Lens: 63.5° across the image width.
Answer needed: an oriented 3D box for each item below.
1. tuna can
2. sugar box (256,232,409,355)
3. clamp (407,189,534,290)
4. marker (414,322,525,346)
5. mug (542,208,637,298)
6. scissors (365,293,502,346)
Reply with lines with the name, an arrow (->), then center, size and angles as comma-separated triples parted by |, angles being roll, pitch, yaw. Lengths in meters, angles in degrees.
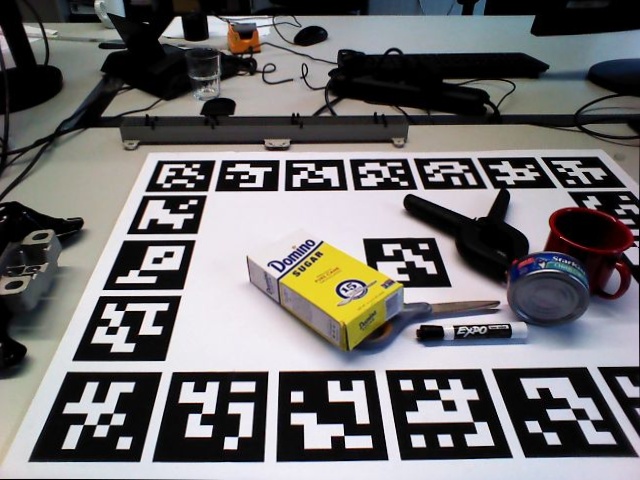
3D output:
tuna can -> 0.266, 0.056, 0.582 | 0.086, 0.086, 0.033 | 10, 40, 12
sugar box -> 0.010, 0.052, 0.609 | 0.092, 0.045, 0.177 | -27, 40, -30
clamp -> 0.230, -0.007, 0.715 | 0.165, 0.037, 0.202 | -7, 41, -10
marker -> 0.165, 0.104, 0.575 | 0.121, 0.020, 0.019 | -3, 40, -4
mug -> 0.324, 0.025, 0.628 | 0.093, 0.082, 0.117 | -19, 39, -23
scissors -> 0.118, 0.077, 0.604 | 0.203, 0.016, 0.087 | -7, 36, -11
